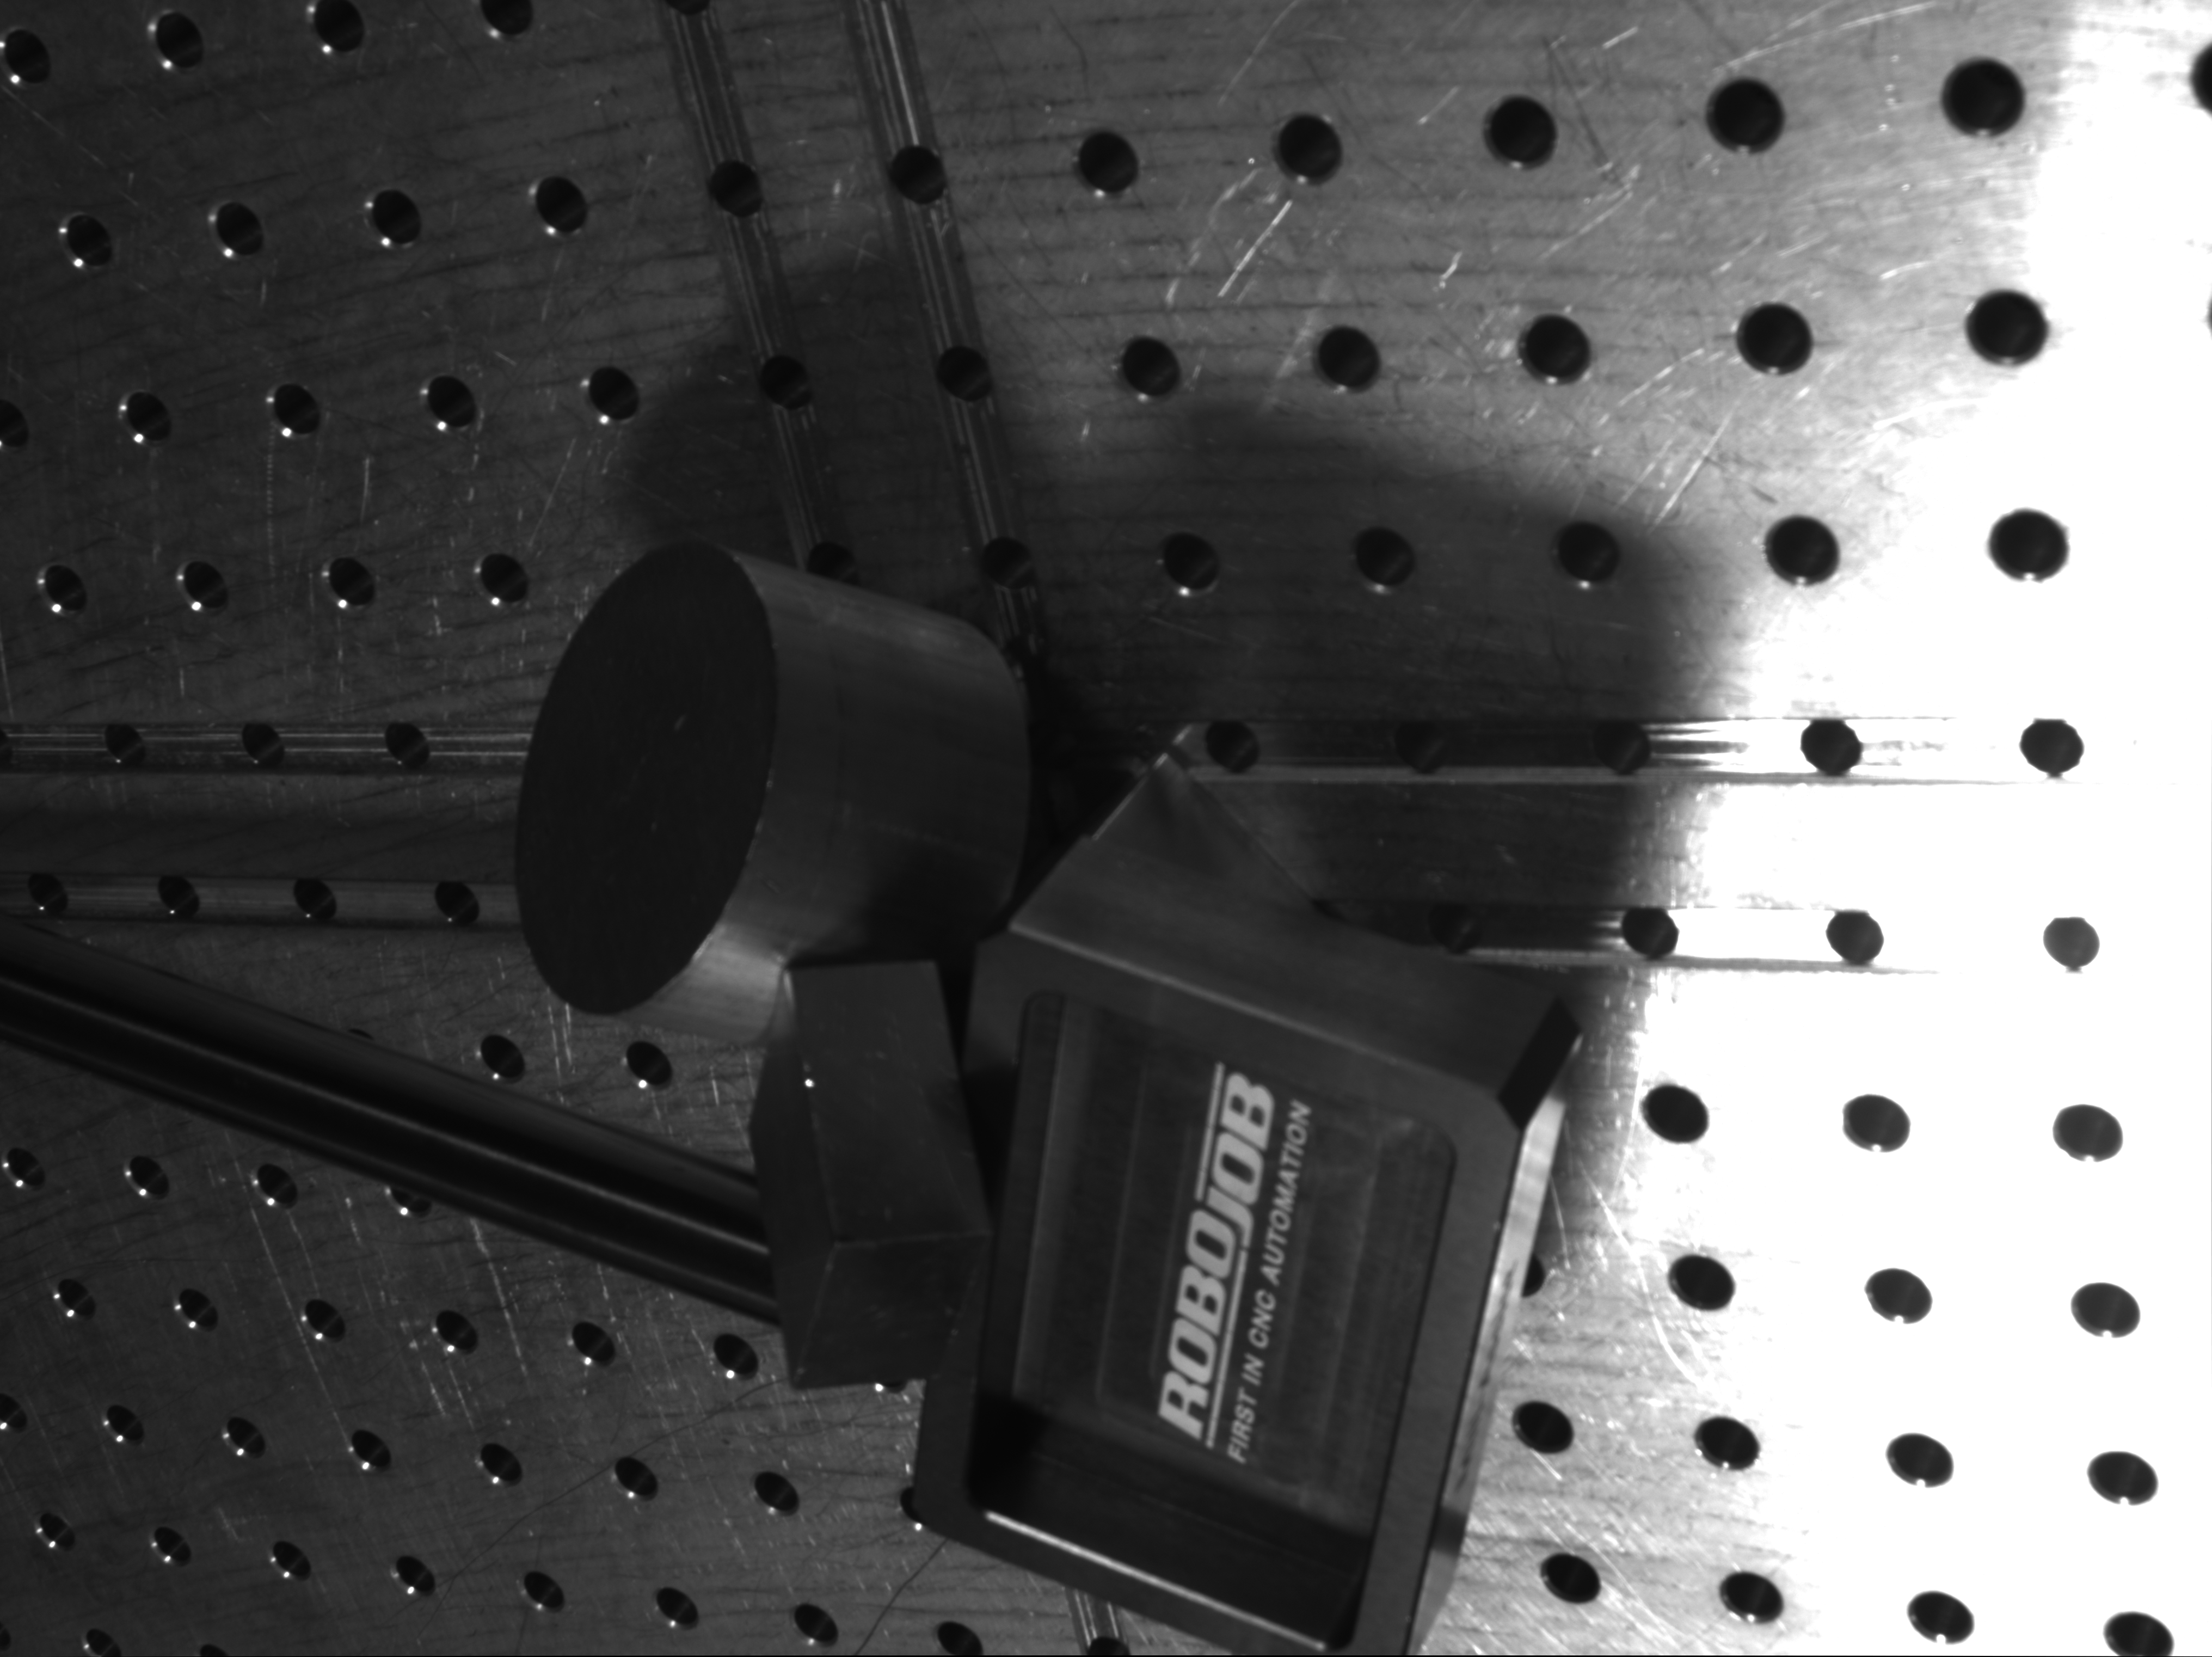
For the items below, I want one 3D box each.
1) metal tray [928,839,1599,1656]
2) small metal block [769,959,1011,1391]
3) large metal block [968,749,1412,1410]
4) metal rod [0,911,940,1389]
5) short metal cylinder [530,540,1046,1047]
[{"bbox_3d":[0.023,0.074,0.597,0.090,0.030,0.130,19,125,16],"label":"metal tray"},{"bbox_3d":[-0.036,0.056,0.594,0.025,0.050,0.050,-3,146,-16],"label":"small metal block"},{"bbox_3d":[0.006,0.047,0.642,0.080,0.050,0.080,46,128,-5],"label":"large metal block"},{"bbox_3d":[-0.149,0.051,0.702,0.299,0.025,0.025,15,125,32],"label":"metal rod"},{"bbox_3d":[-0.054,-0.003,0.617,0.050,0.080,0.080,15,140,-37],"label":"short metal cylinder"}]
